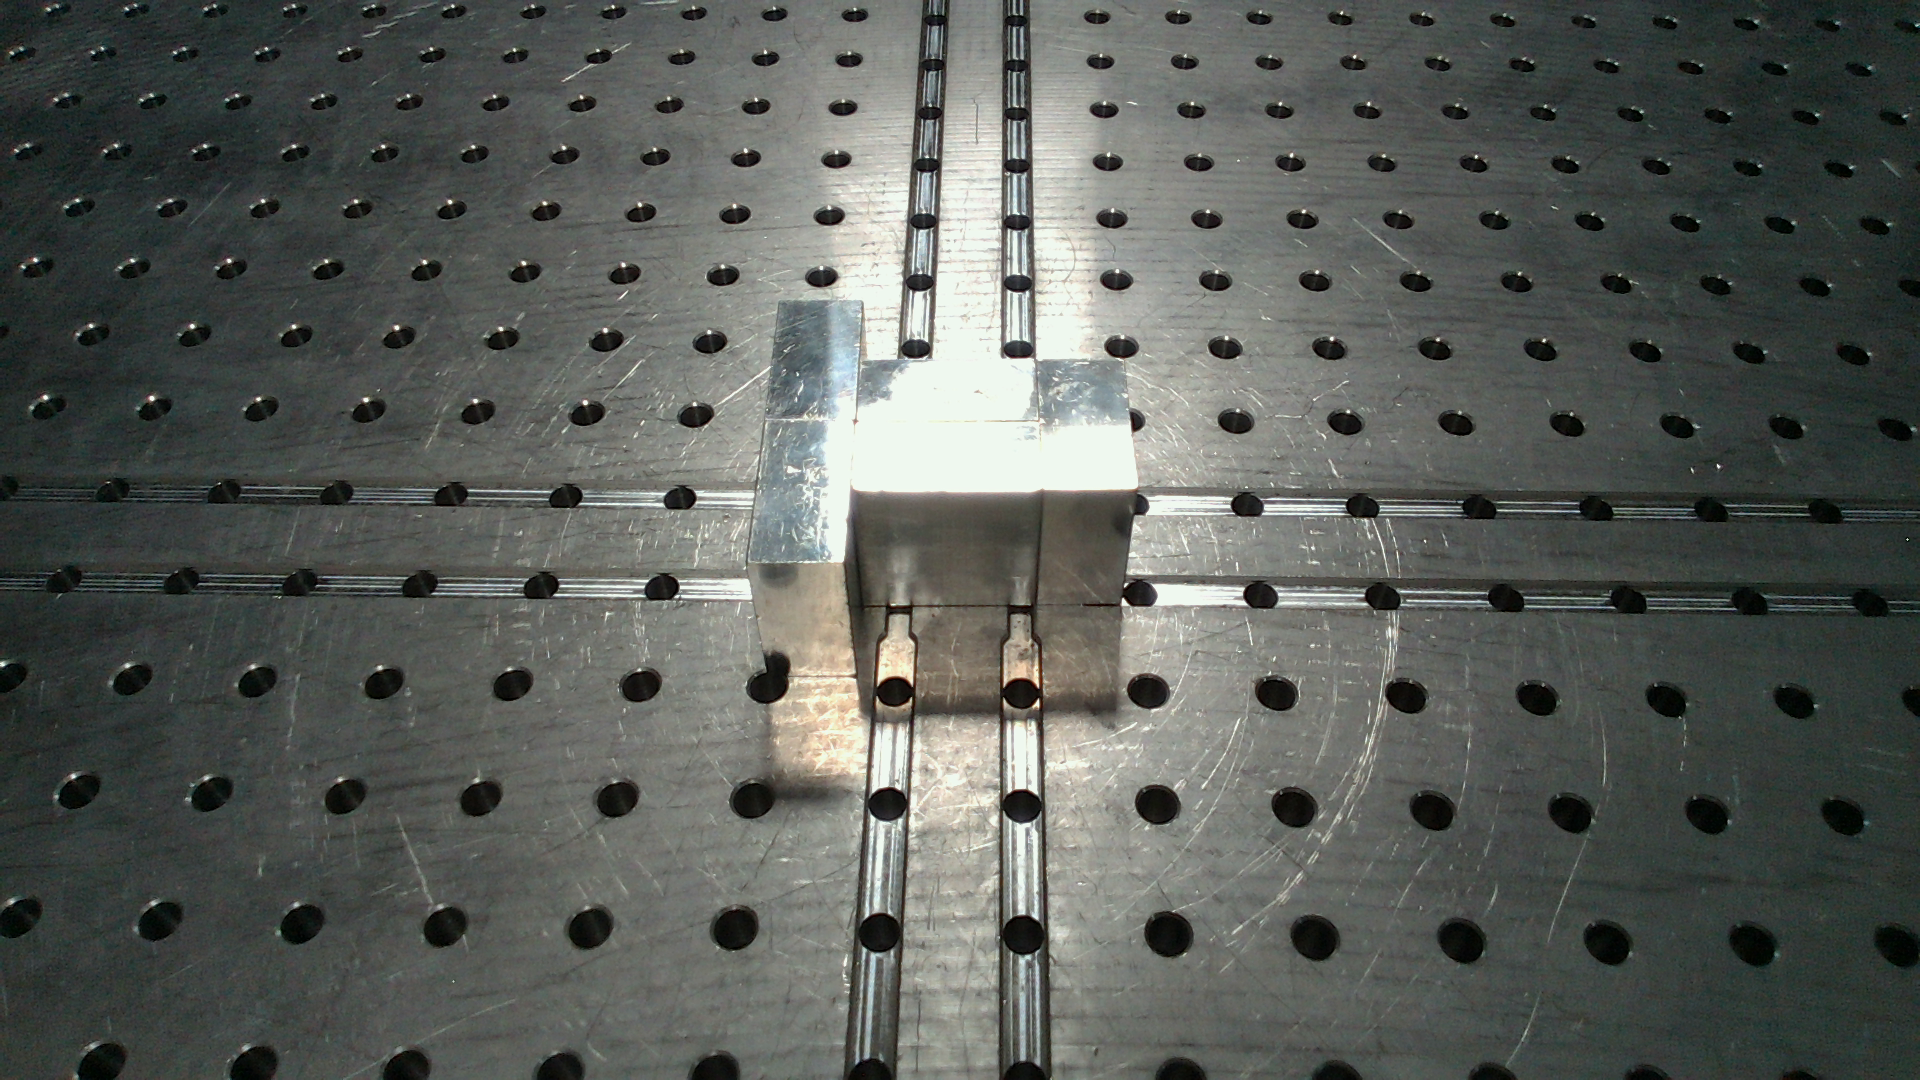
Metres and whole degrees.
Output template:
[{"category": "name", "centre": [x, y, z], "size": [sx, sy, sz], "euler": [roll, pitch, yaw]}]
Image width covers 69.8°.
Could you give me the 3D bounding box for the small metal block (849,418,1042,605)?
[{"category": "small metal block", "centre": [-0.004, -0.007, 0.383], "size": [0.050, 0.050, 0.025], "euler": [0, 50, 0]}]

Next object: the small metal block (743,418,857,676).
[{"category": "small metal block", "centre": [-0.041, 0.002, 0.376], "size": [0.025, 0.050, 0.050], "euler": [0, 50, 0]}]

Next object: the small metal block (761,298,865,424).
[{"category": "small metal block", "centre": [-0.041, -0.036, 0.408], "size": [0.025, 0.050, 0.050], "euler": [0, 50, 0]}]

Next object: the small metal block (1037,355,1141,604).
[{"category": "small metal block", "centre": [0.034, -0.017, 0.392], "size": [0.025, 0.050, 0.050], "euler": [0, 50, 0]}]

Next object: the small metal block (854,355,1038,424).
[{"category": "small metal block", "centre": [-0.004, -0.027, 0.400], "size": [0.050, 0.050, 0.025], "euler": [0, 50, 0]}]
